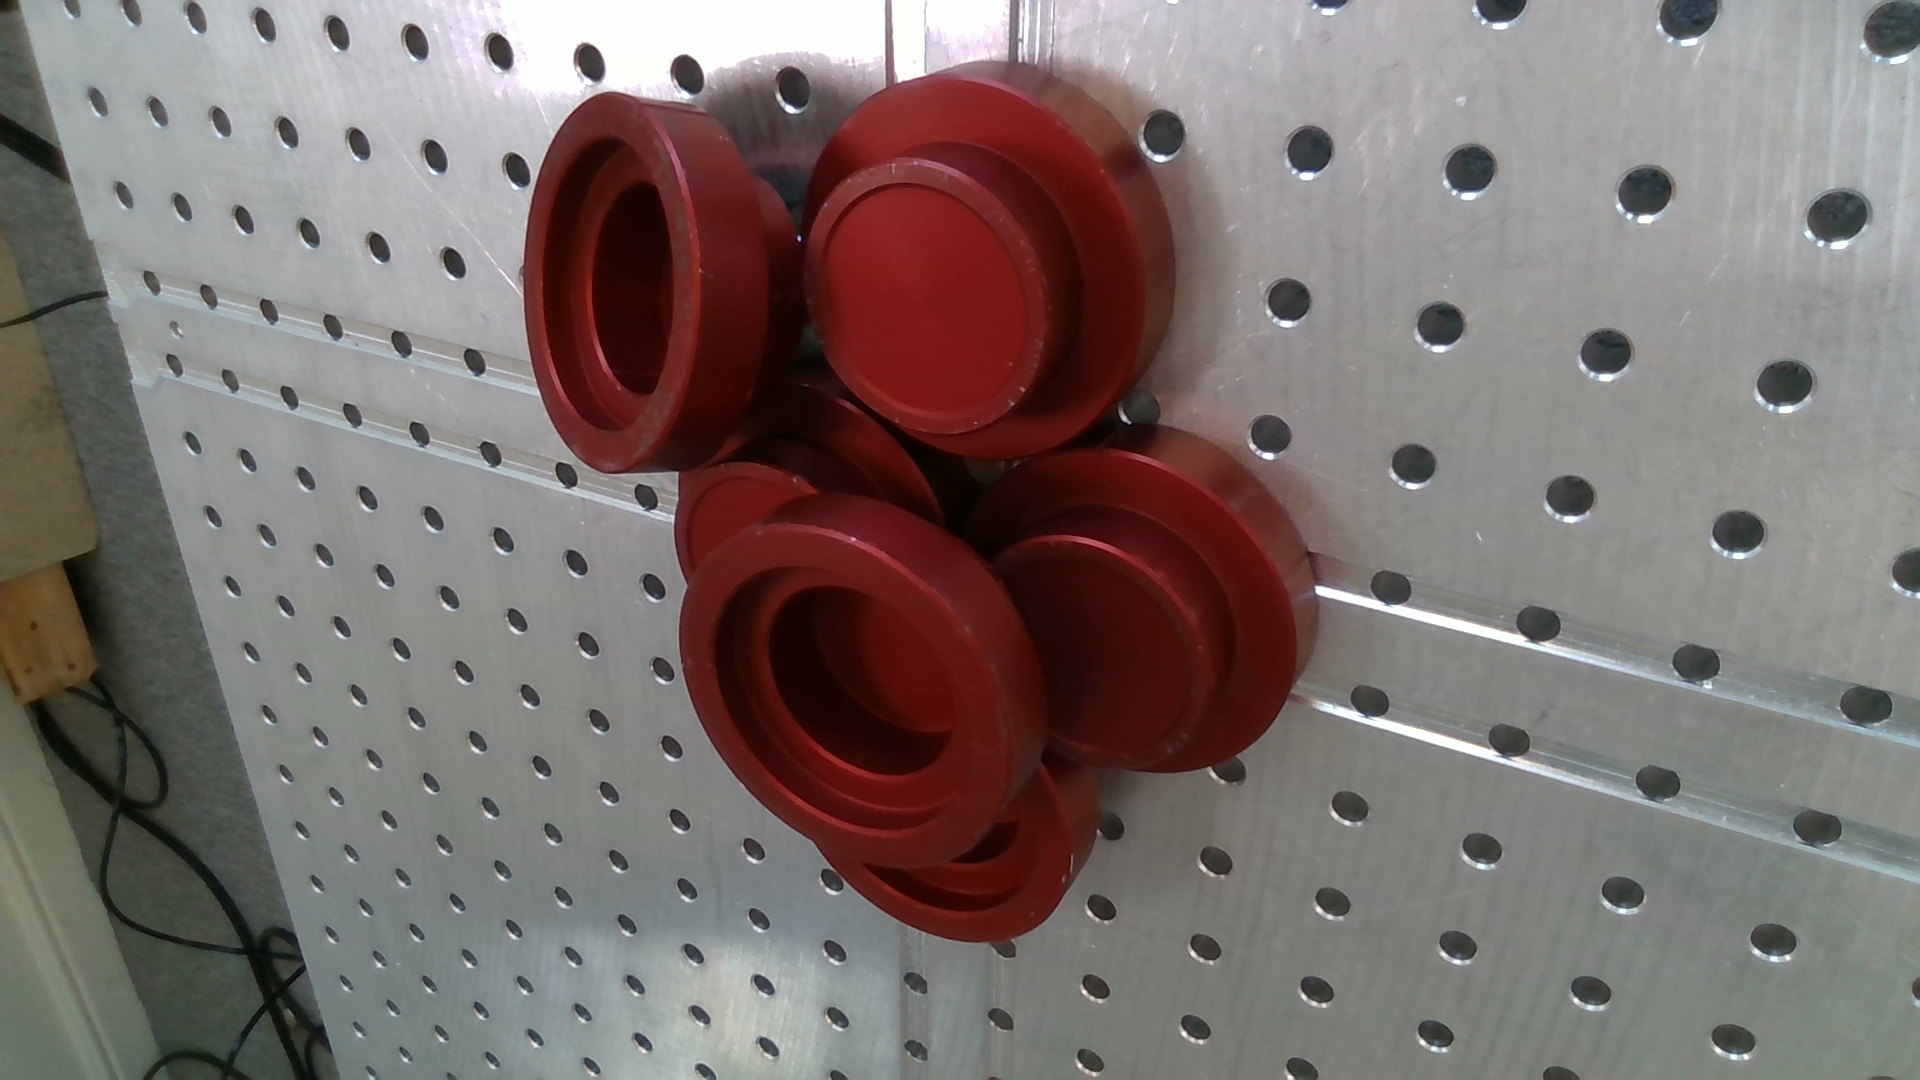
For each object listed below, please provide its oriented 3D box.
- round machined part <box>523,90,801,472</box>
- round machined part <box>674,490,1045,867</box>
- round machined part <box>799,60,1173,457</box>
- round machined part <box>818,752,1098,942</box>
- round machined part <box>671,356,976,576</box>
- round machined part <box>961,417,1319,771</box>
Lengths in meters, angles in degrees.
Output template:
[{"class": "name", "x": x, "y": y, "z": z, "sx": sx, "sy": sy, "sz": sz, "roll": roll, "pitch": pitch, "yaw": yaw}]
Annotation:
[{"class": "round machined part", "x": -0.079, "y": -0.068, "z": 0.374, "sx": 0.098, "sy": 0.042, "sz": 0.098, "roll": 8, "pitch": 101, "yaw": 49}, {"class": "round machined part", "x": -0.022, "y": 0.032, "z": 0.356, "sx": 0.098, "sy": 0.042, "sz": 0.098, "roll": 14, "pitch": 122, "yaw": 25}, {"class": "round machined part", "x": 0.000, "y": -0.066, "z": 0.344, "sx": 0.098, "sy": 0.042, "sz": 0.098, "roll": 14, "pitch": 122, "yaw": 25}, {"class": "round machined part", "x": -0.003, "y": 0.070, "z": 0.420, "sx": 0.098, "sy": 0.042, "sz": 0.098, "roll": 14, "pitch": 122, "yaw": 25}, {"class": "round machined part", "x": -0.046, "y": -0.001, "z": 0.407, "sx": 0.098, "sy": 0.042, "sz": 0.098, "roll": 14, "pitch": 122, "yaw": 25}, {"class": "round machined part", "x": 0.041, "y": 0.020, "z": 0.366, "sx": 0.098, "sy": 0.042, "sz": 0.098, "roll": 14, "pitch": 122, "yaw": 25}]
